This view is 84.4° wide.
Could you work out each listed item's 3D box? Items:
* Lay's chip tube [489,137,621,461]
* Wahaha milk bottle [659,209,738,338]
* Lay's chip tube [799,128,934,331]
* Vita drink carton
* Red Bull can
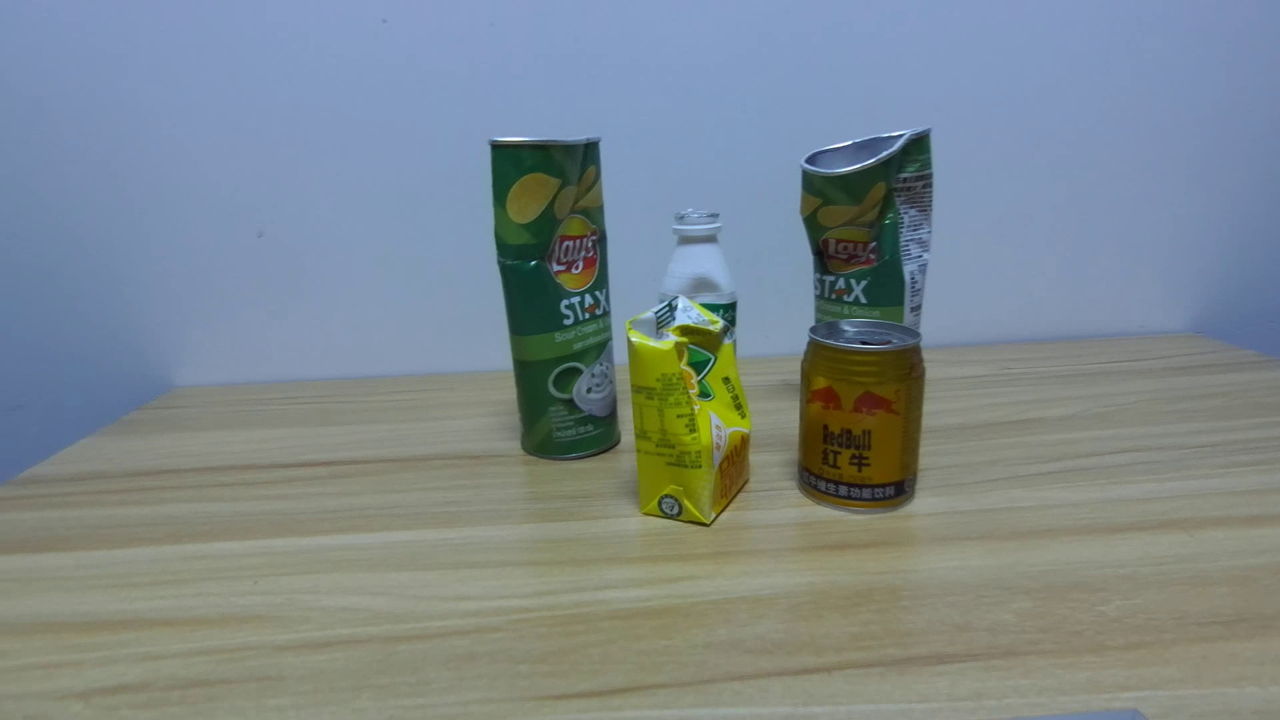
[{"bbox_3d":[-0.052,-0.039,0.462,0.069,0.199,0.074,-4,15,-4],"label":"Lay's chip tube"},{"bbox_3d":[0.042,-0.029,0.496,0.055,0.149,0.055,0,15,0],"label":"Wahaha milk bottle"},{"bbox_3d":[0.153,-0.051,0.485,0.078,0.199,0.071,6,25,29],"label":"Lay's chip tube"},{"bbox_3d":[0.030,0.025,0.386,0.046,0.109,0.071,4,18,29],"label":"Vita drink carton"},{"bbox_3d":[0.123,0.030,0.394,0.067,0.093,0.067,0,15,0],"label":"Red Bull can"}]
